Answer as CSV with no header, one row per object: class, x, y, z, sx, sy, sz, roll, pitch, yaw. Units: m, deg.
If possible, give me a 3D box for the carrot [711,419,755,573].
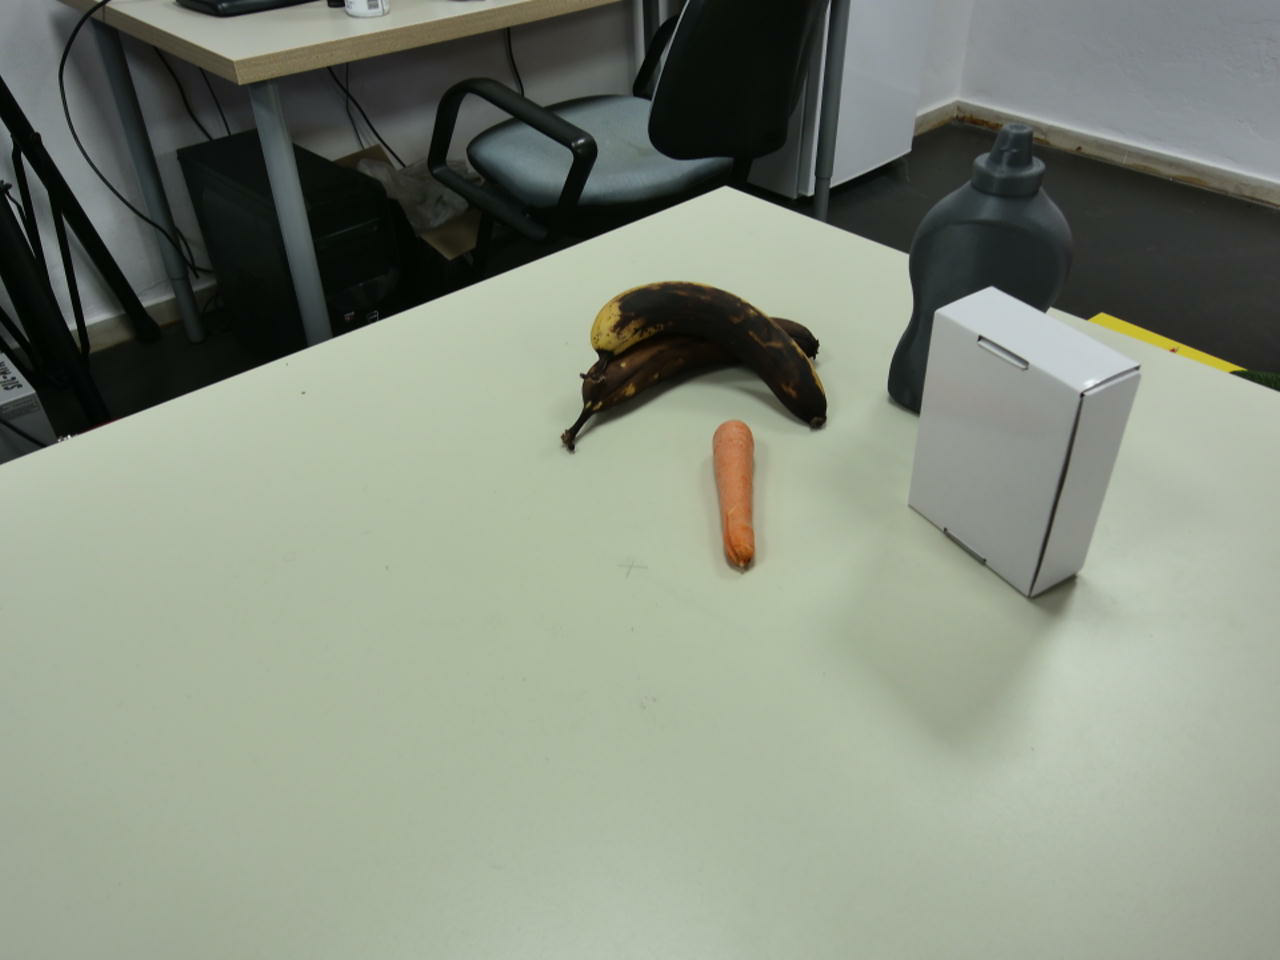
carrot,0.061,0.006,0.642,0.030,0.032,0.136,1,36,3
